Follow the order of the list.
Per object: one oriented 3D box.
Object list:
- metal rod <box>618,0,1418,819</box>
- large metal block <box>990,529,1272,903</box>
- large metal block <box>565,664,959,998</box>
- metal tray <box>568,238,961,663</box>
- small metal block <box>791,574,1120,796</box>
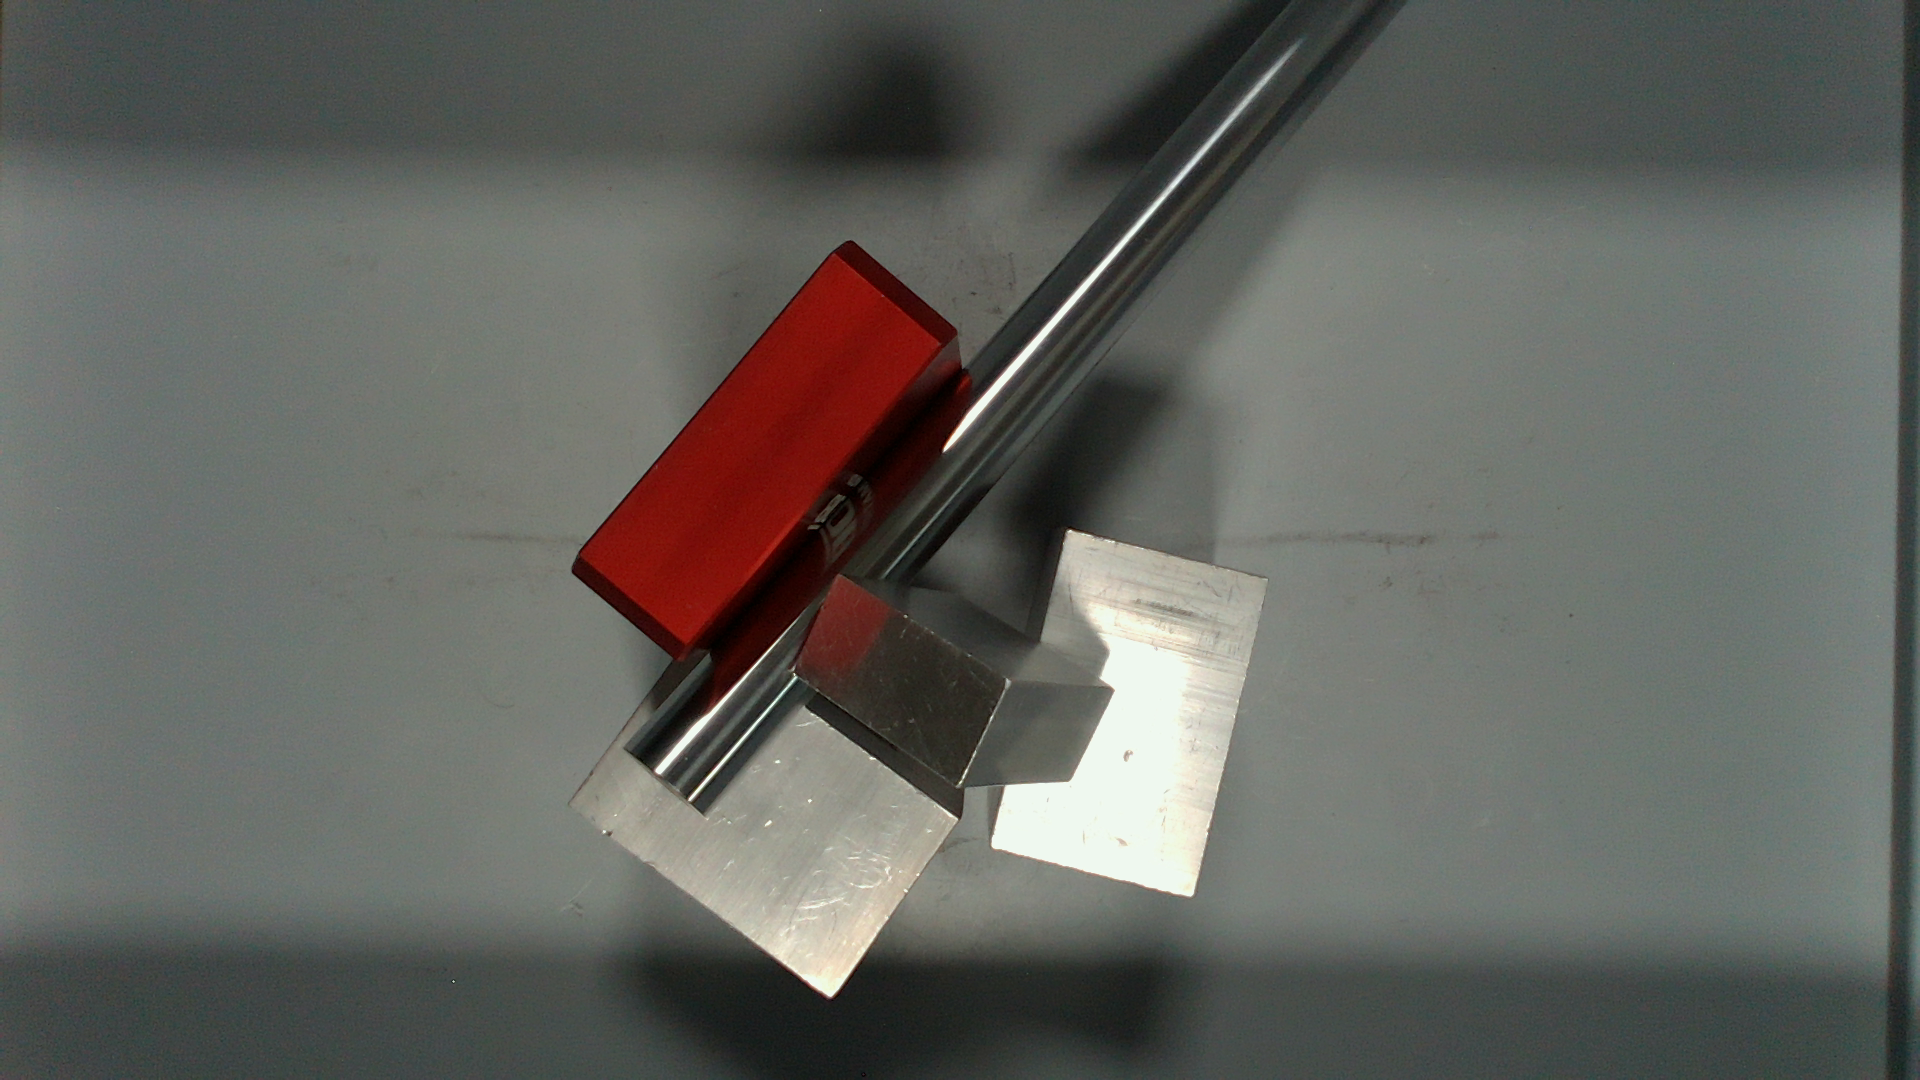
[{"bbox_3d":[0.027,-0.054,0.349,0.025,0.025,0.301,41,73,0],"label":"metal rod"},{"bbox_3d":[0.041,0.042,0.368,0.050,0.080,0.080,13,90,0],"label":"large metal block"},{"bbox_3d":[-0.047,0.065,0.368,0.080,0.080,0.050,36,90,0],"label":"large metal block"},{"bbox_3d":[-0.039,-0.019,0.341,0.030,0.130,0.090,40,91,1],"label":"metal tray"},{"bbox_3d":[0.000,0.032,0.308,0.050,0.050,0.025,30,100,31],"label":"small metal block"}]
